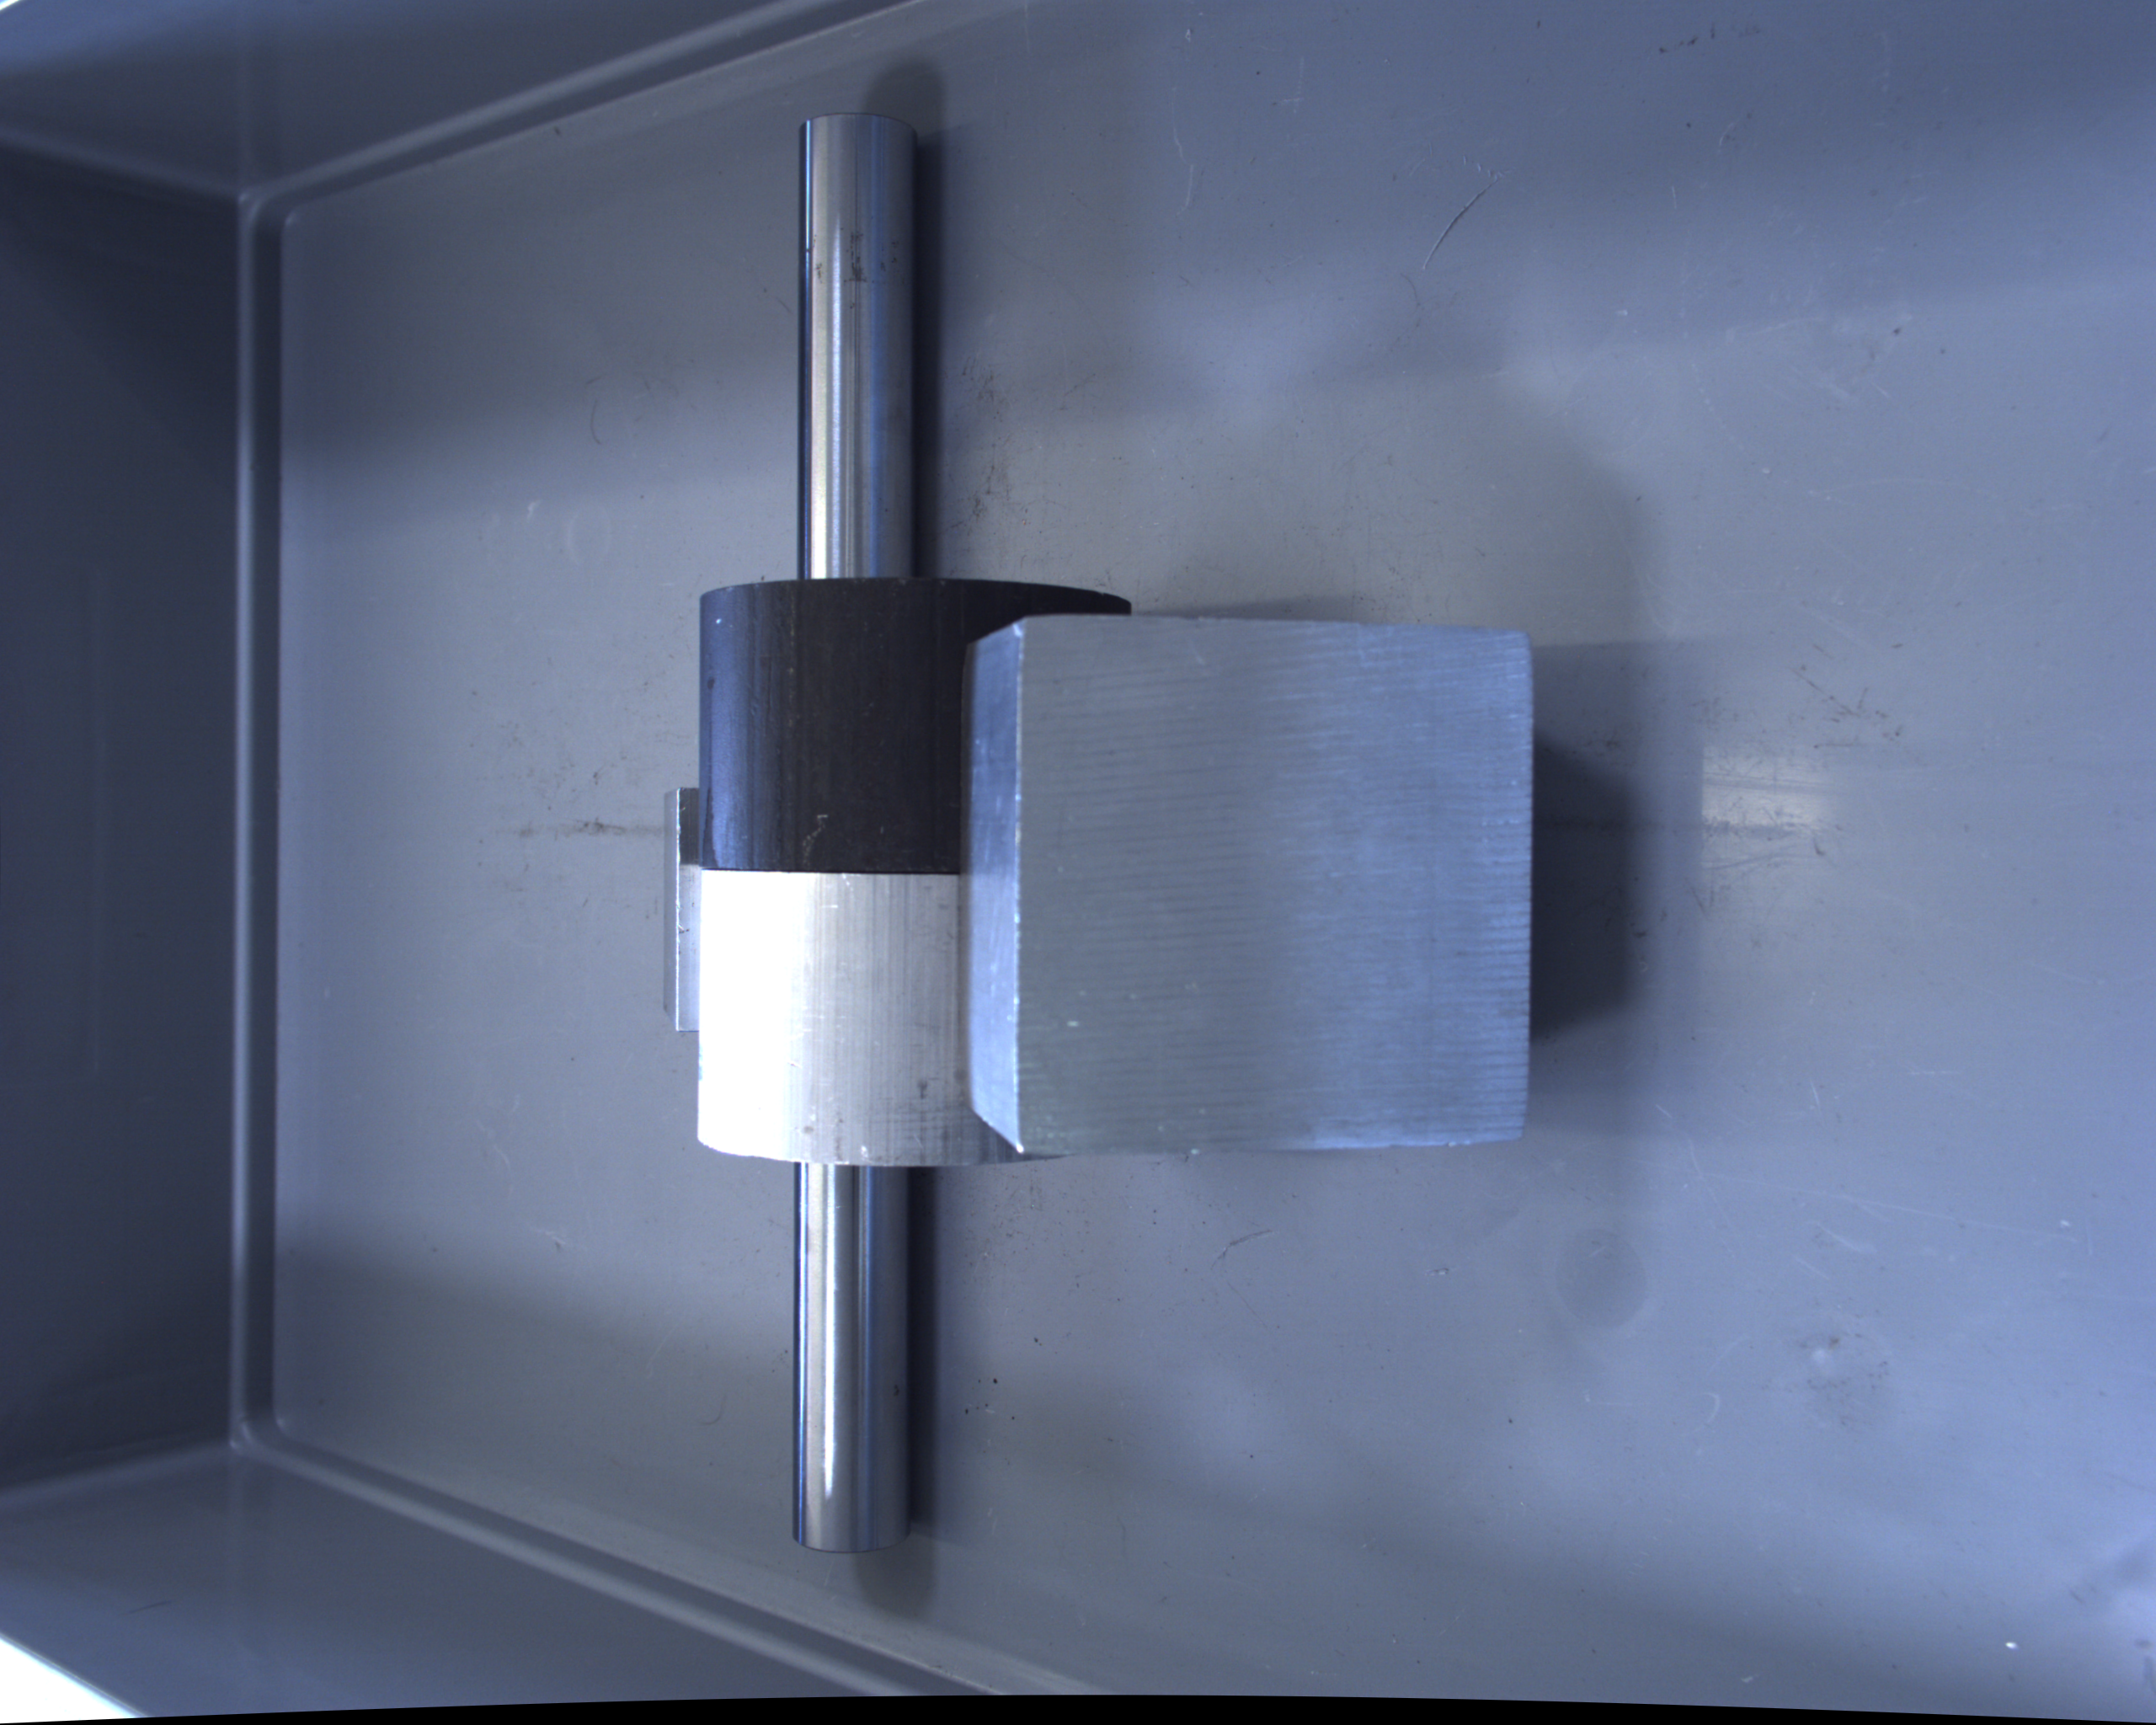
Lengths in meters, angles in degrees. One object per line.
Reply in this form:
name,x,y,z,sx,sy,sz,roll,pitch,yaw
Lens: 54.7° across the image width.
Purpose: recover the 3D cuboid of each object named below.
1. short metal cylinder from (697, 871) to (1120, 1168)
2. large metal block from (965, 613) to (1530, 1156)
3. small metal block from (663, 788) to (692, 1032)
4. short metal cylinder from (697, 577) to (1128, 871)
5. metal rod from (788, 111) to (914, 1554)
short metal cylinder,-0.031,0.027,0.394,0.080,0.081,0.050,1,91,40
large metal block,0.025,0.003,0.338,0.050,0.081,0.079,-175,85,-78
small metal block,-0.075,0.010,0.452,0.050,0.025,0.050,180,91,-75
short metal cylinder,-0.031,-0.024,0.393,0.080,0.081,0.050,1,91,40
metal rod,-0.048,-0.006,0.443,0.025,0.025,0.298,1,90,40
